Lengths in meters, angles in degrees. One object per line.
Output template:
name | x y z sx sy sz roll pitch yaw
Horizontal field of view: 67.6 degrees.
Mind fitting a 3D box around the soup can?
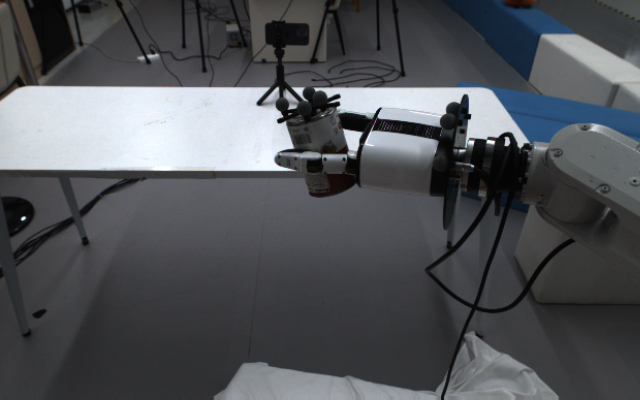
soup can | 0.004 -0.063 0.617 0.067 0.101 0.067 -16 23 7
